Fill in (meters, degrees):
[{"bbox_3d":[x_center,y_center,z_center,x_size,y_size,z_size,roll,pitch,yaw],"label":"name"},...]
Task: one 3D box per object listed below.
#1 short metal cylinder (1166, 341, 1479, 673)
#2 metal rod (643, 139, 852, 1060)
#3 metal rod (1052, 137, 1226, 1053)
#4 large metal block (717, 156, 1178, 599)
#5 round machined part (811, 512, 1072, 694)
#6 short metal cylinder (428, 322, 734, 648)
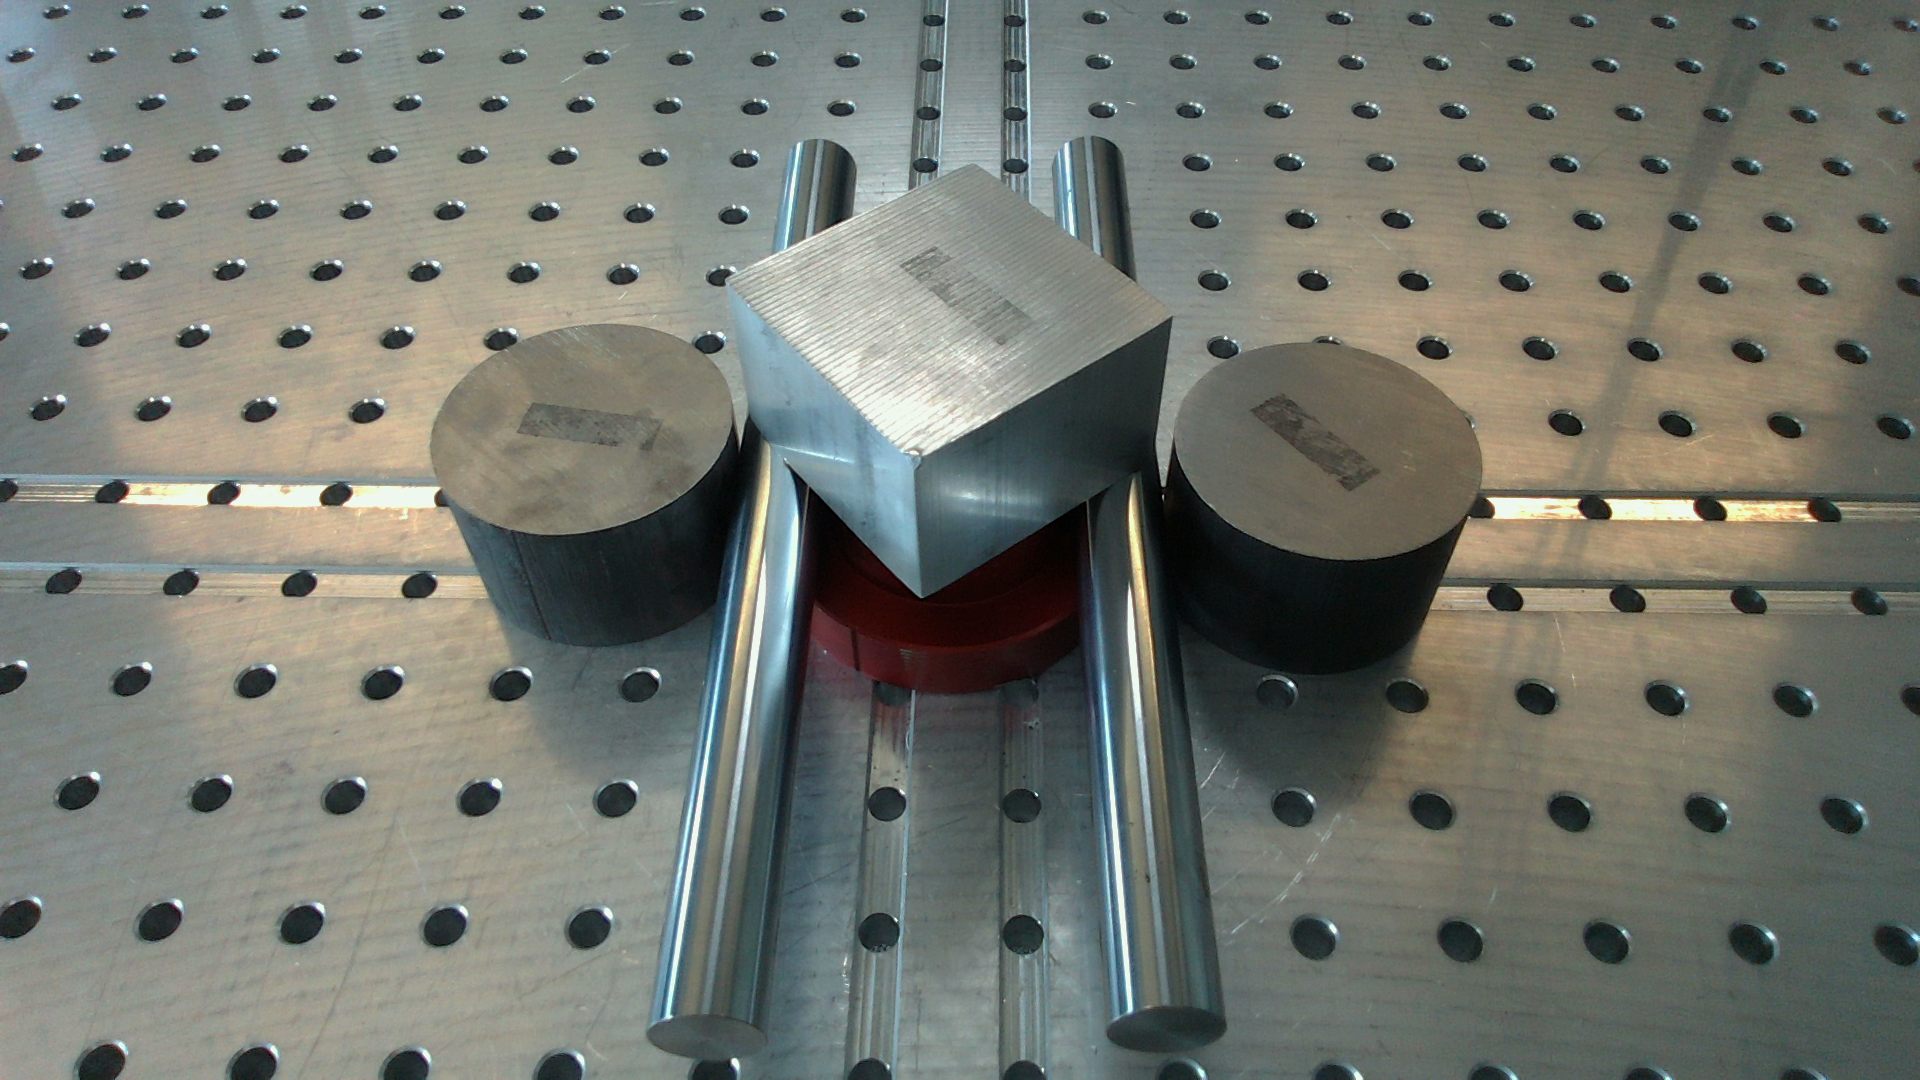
[{"bbox_3d":[0.097,-0.010,0.386,0.080,0.050,0.080,0,50,0],"label":"short metal cylinder"},{"bbox_3d":[-0.050,-0.013,0.378,0.025,0.025,0.300,0,50,1],"label":"metal rod"},{"bbox_3d":[0.043,-0.014,0.379,0.025,0.025,0.300,0,50,0],"label":"metal rod"},{"bbox_3d":[-0.004,-0.045,0.354,0.080,0.050,0.080,-31,56,-23],"label":"large metal block"},{"bbox_3d":[-0.004,-0.008,0.391,0.098,0.042,0.098,0,50,0],"label":"round machined part"},{"bbox_3d":[-0.103,-0.017,0.392,0.080,0.050,0.080,0,50,0],"label":"short metal cylinder"}]
